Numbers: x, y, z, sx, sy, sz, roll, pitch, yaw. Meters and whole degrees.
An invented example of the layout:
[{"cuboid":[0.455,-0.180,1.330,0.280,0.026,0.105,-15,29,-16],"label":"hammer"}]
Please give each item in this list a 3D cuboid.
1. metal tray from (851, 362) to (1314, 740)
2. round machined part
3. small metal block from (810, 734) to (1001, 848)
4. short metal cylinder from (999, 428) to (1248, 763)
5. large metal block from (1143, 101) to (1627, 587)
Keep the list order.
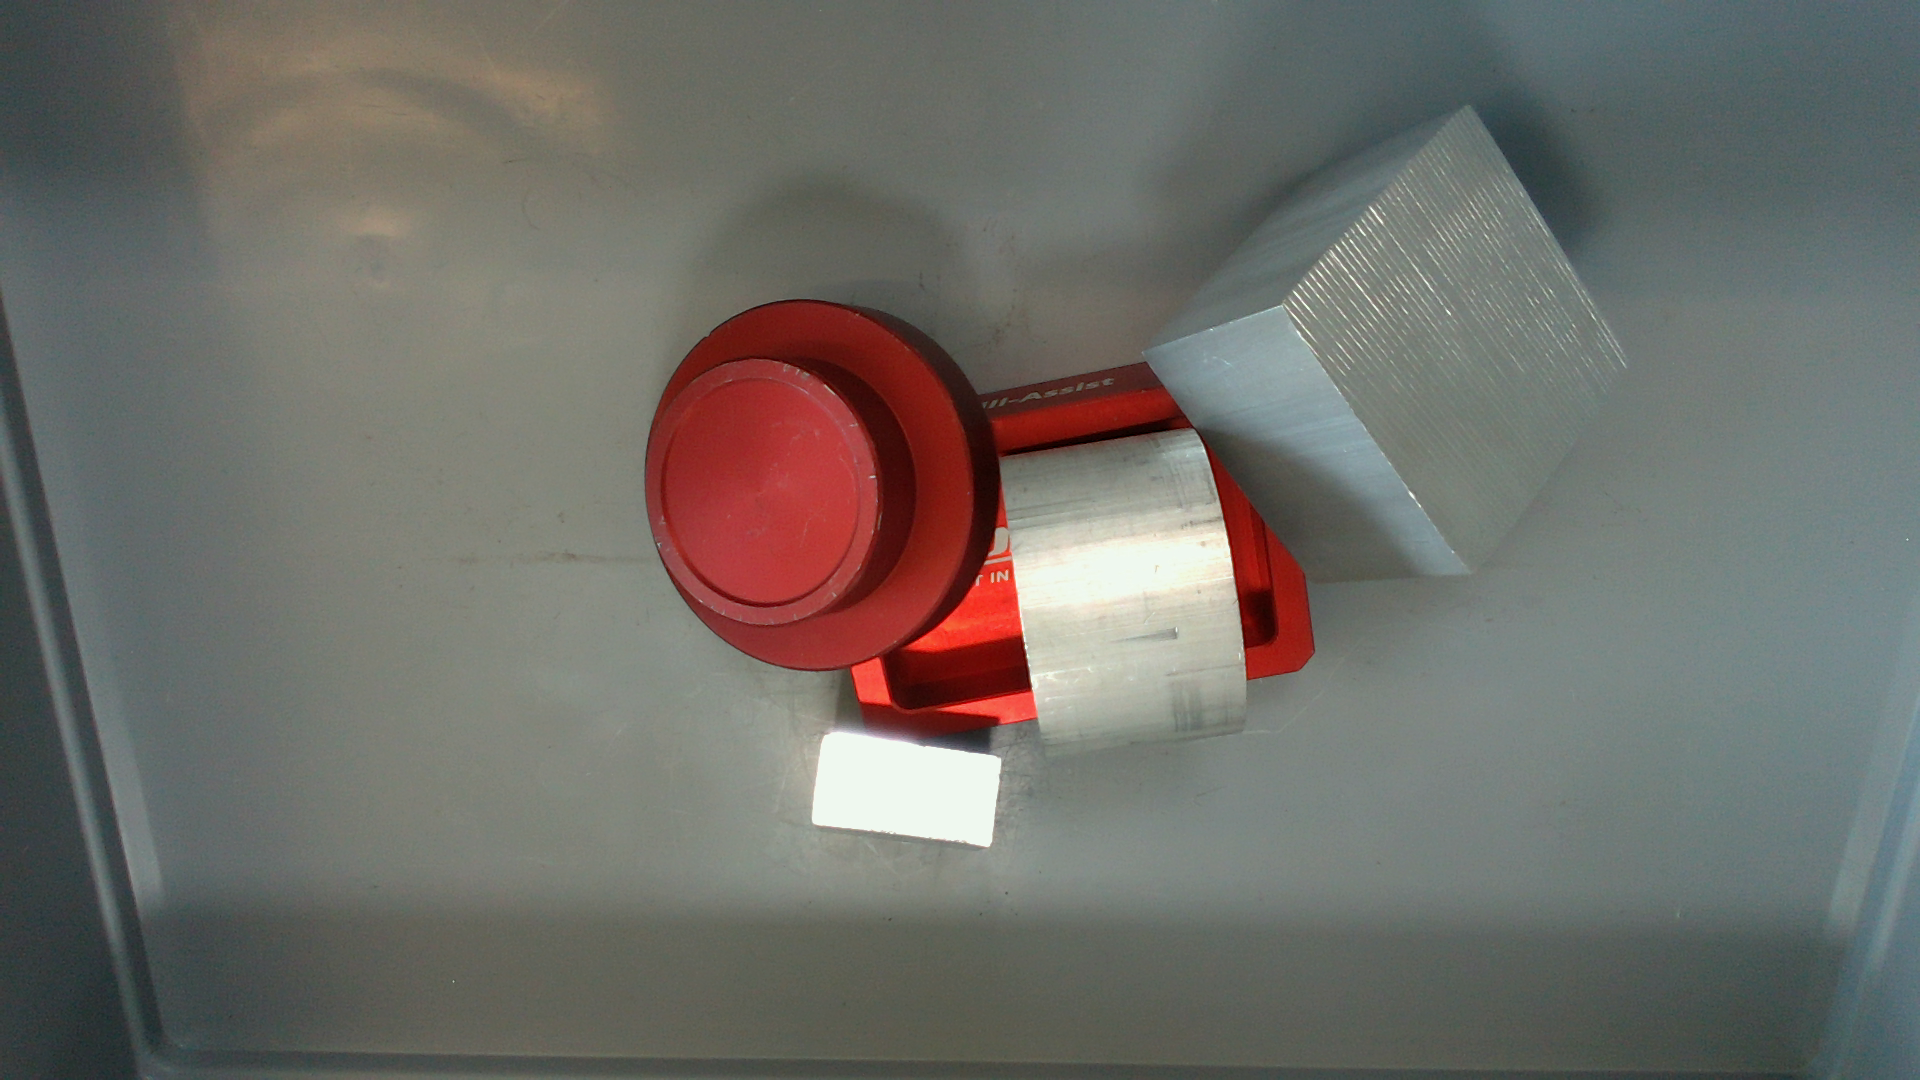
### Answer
[{"cuboid":[0.029,0.002,0.392,0.130,0.030,0.090,-11,110,4],"label":"metal tray"},{"cuboid":[-0.043,-0.013,0.358,0.098,0.042,0.098,2,96,23],"label":"round machined part"},{"cuboid":[-0.016,0.075,0.404,0.050,0.050,0.025,8,76,-2],"label":"small metal block"},{"cuboid":[0.041,0.014,0.356,0.050,0.080,0.080,-9,110,3],"label":"short metal cylinder"},{"cuboid":[0.107,-0.046,0.342,0.080,0.050,0.080,-47,108,-23],"label":"large metal block"}]
